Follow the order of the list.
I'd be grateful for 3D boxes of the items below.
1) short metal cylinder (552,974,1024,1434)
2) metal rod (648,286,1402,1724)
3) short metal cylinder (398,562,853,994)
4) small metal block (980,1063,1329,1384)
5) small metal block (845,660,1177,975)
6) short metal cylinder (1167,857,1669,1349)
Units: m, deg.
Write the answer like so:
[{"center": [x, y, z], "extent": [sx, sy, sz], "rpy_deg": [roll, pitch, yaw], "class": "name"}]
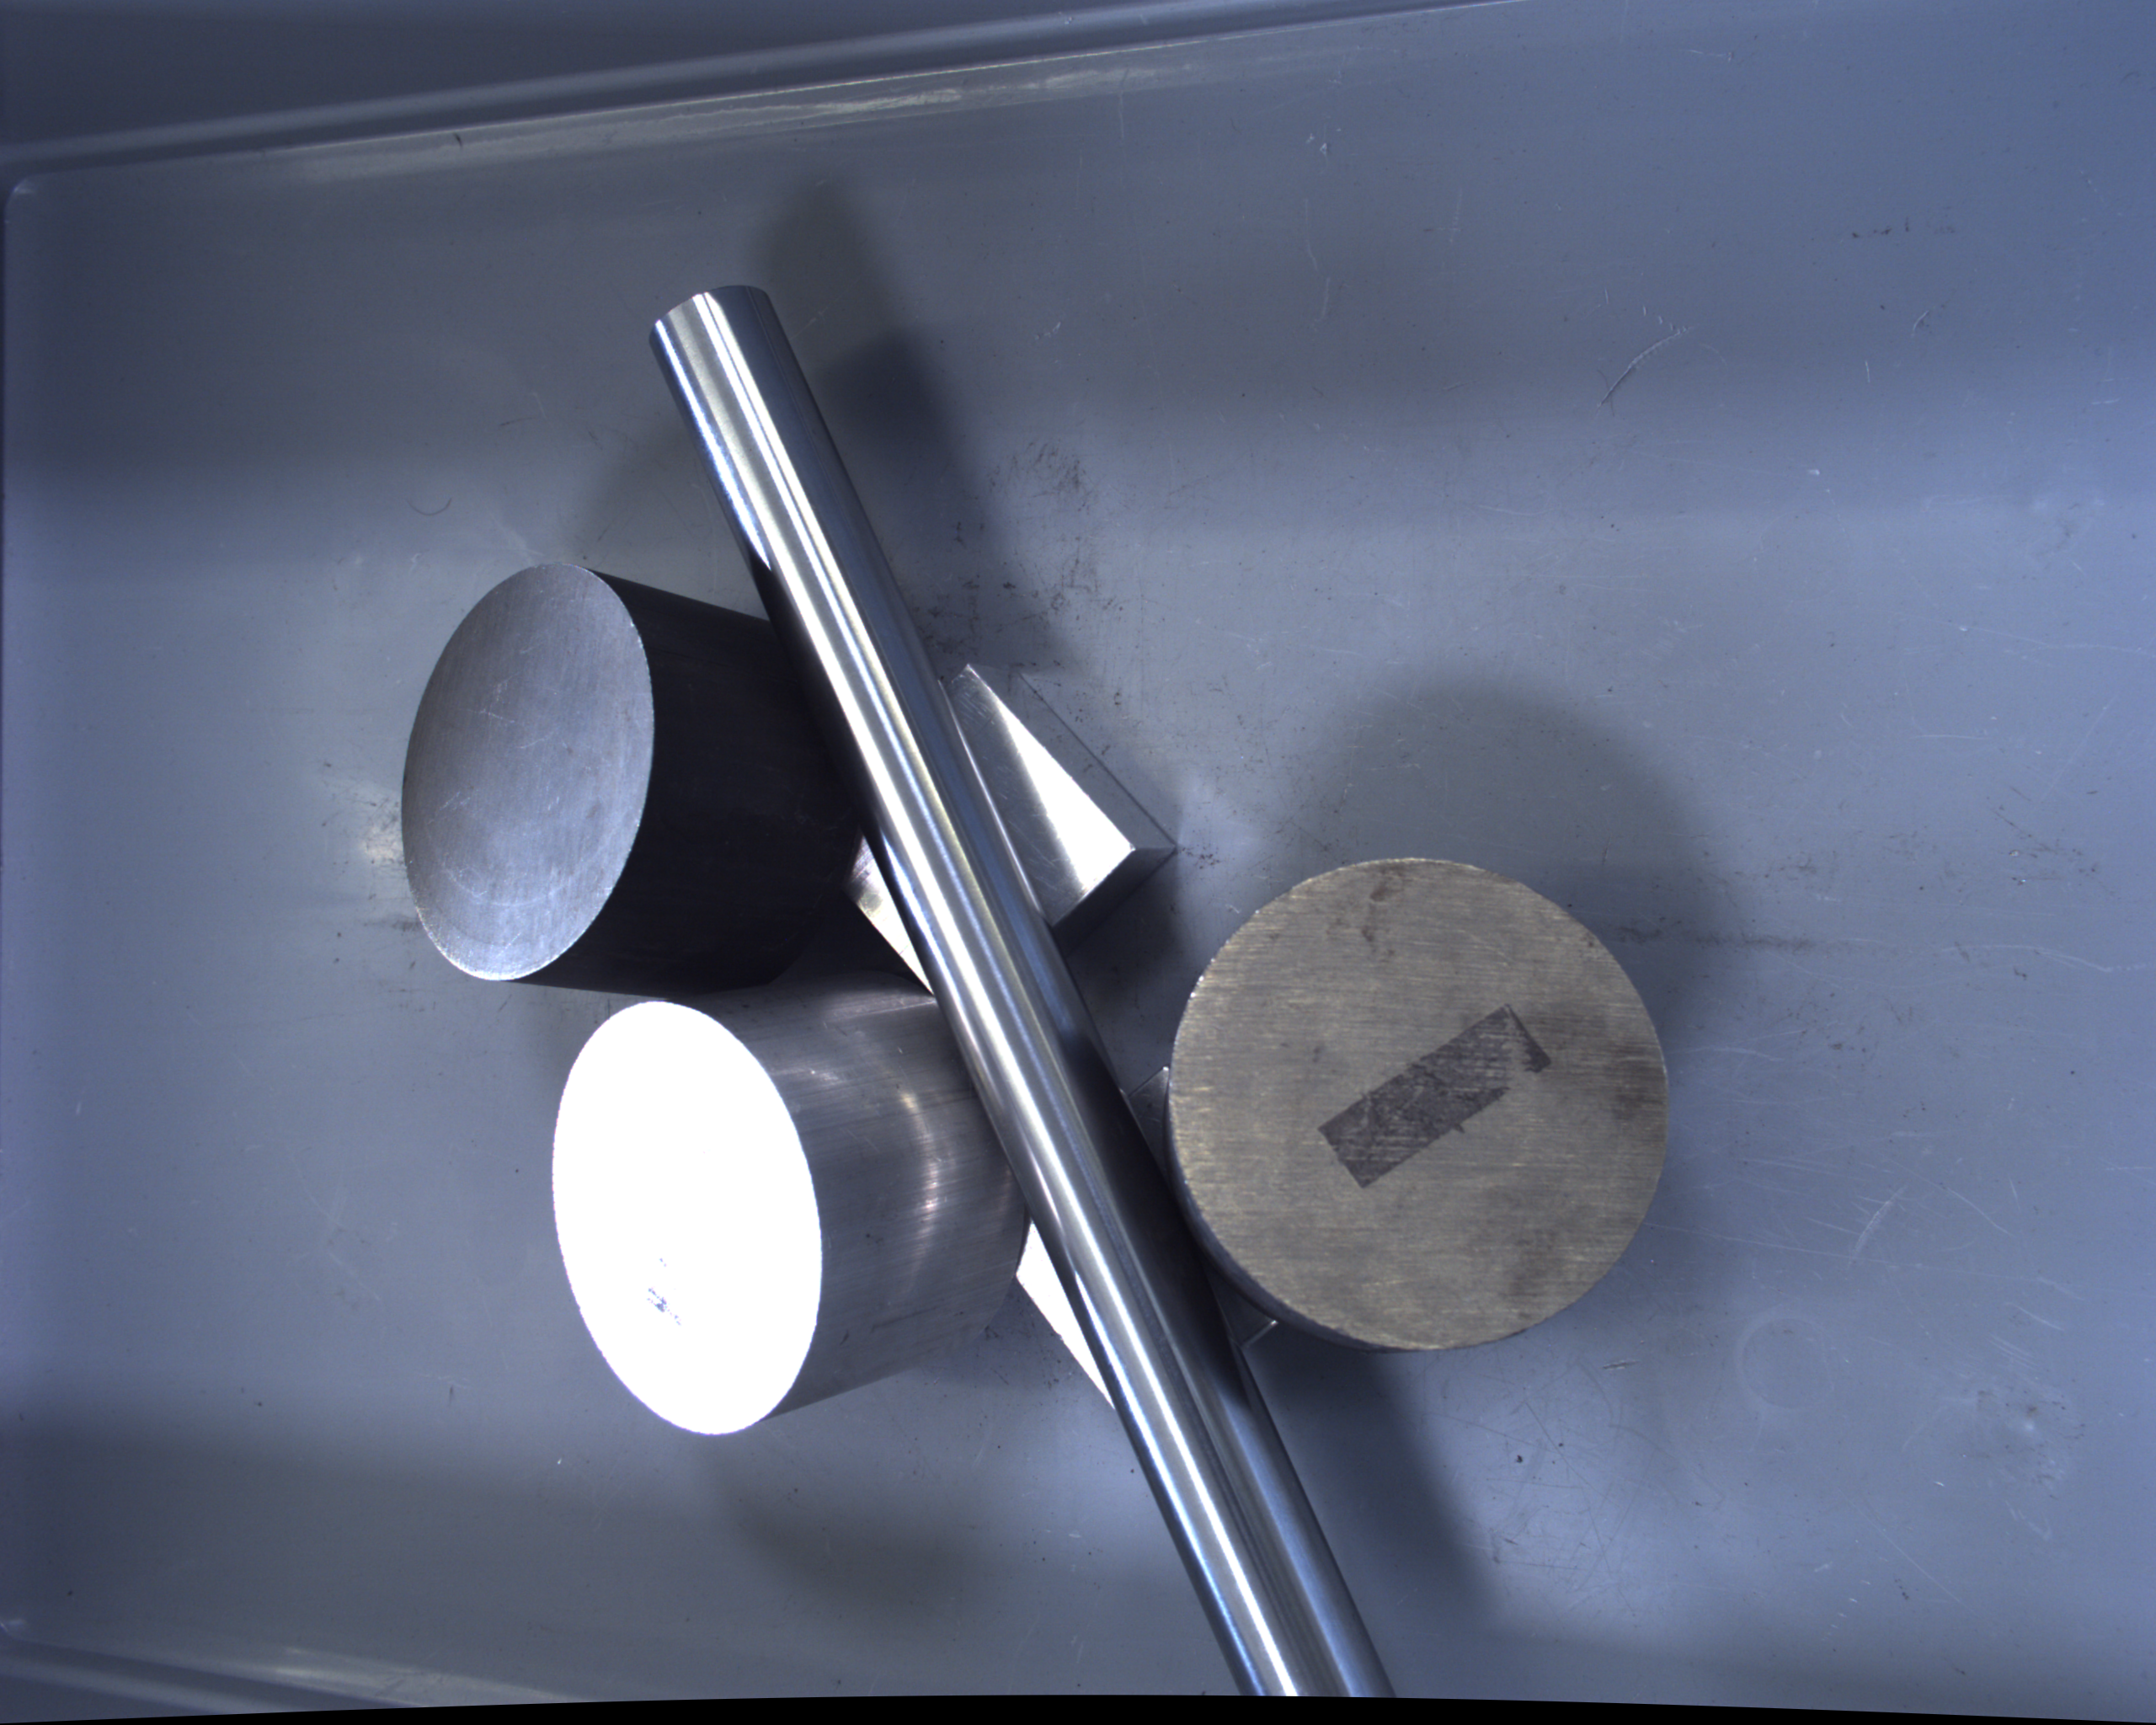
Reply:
[{"center": [-0.057, 0.063, 0.401], "extent": [0.080, 0.050, 0.079], "rpy_deg": [5, 97, 42], "class": "short metal cylinder"}, {"center": [-0.012, 0.029, 0.385], "extent": [0.025, 0.025, 0.299], "rpy_deg": [-27, 81, 18], "class": "metal rod"}, {"center": [-0.089, -0.014, 0.412], "extent": [0.080, 0.050, 0.080], "rpy_deg": [-9, 76, 39], "class": "short metal cylinder"}, {"center": [0.017, 0.073, 0.402], "extent": [0.050, 0.025, 0.050], "rpy_deg": [-42, 77, 15], "class": "small metal block"}, {"center": [-0.018, -0.004, 0.415], "extent": [0.050, 0.025, 0.050], "rpy_deg": [-45, 76, 14], "class": "small metal block"}, {"center": [0.056, 0.044, 0.362], "extent": [0.081, 0.050, 0.080], "rpy_deg": [0, 75, 1], "class": "short metal cylinder"}]
